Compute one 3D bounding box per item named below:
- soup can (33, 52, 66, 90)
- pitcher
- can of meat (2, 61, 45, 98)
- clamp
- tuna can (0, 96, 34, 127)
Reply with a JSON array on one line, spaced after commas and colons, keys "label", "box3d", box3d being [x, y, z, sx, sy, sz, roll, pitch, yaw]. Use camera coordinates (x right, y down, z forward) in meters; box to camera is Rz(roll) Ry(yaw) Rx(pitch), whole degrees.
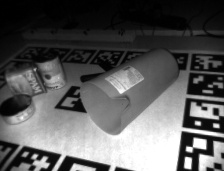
[{"label": "soup can", "box3d": [-0.193, -0.045, 0.675, 0.067, 0.103, 0.067, -9, 40, 8]}, {"label": "pitcher", "box3d": [0.039, -0.005, 0.541, 0.244, 0.134, 0.186, -34, 21, -36]}, {"label": "can of meat", "box3d": [-0.260, -0.009, 0.638, 0.084, 0.103, 0.057, -21, 41, -7]}, {"label": "clamp", "box3d": [-0.022, -0.038, 0.694, 0.164, 0.037, 0.122, 9, 38, 18]}, {"label": "tuna can", "box3d": [-0.262, 0.071, 0.598, 0.085, 0.034, 0.085, -6, 40, 6]}]
